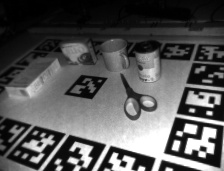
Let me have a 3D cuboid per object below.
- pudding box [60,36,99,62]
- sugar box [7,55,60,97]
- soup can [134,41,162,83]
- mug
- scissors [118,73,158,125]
[{"bbox_3d":[-0.113,-0.129,0.756,0.113,0.091,0.038,0,50,19],"label":"pudding box"},{"bbox_3d":[-0.265,-0.037,0.747,0.092,0.046,0.177,4,46,26],"label":"sugar box"},{"bbox_3d":[0.105,-0.068,0.621,0.067,0.103,0.067,-10,39,9],"label":"soup can"},{"bbox_3d":[0.020,-0.106,0.698,0.093,0.082,0.116,-19,39,1],"label":"mug"},{"bbox_3d":[0.053,0.018,0.593,0.088,0.016,0.200,-28,41,1],"label":"scissors"}]
